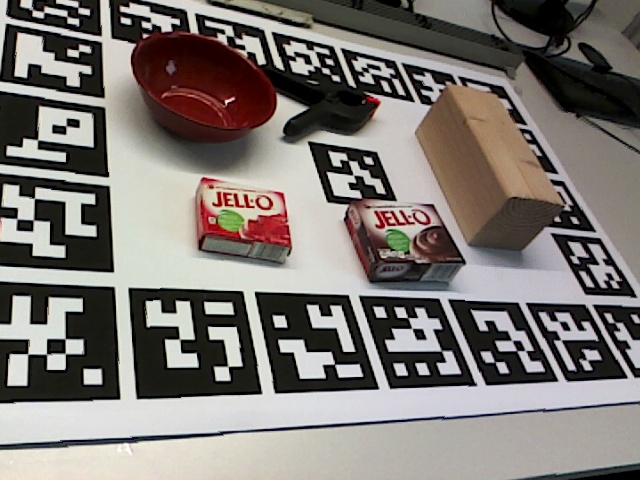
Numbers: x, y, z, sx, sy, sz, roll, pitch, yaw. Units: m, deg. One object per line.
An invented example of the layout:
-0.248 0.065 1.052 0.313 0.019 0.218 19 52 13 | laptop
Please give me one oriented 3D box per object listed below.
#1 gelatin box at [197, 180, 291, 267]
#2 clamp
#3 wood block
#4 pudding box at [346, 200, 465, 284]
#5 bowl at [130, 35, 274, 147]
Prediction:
-0.076 -0.017 0.611 0.089 0.030 0.073 11 49 -22 | gelatin box
-0.008 -0.173 0.799 0.164 0.036 0.122 -5 54 -35 | clamp
0.216 -0.094 0.807 0.089 0.091 0.207 7 49 -26 | wood block
0.093 0.003 0.686 0.113 0.039 0.090 2 55 -26 | pudding box
-0.136 -0.157 0.695 0.161 0.055 0.162 16 48 -19 | bowl
